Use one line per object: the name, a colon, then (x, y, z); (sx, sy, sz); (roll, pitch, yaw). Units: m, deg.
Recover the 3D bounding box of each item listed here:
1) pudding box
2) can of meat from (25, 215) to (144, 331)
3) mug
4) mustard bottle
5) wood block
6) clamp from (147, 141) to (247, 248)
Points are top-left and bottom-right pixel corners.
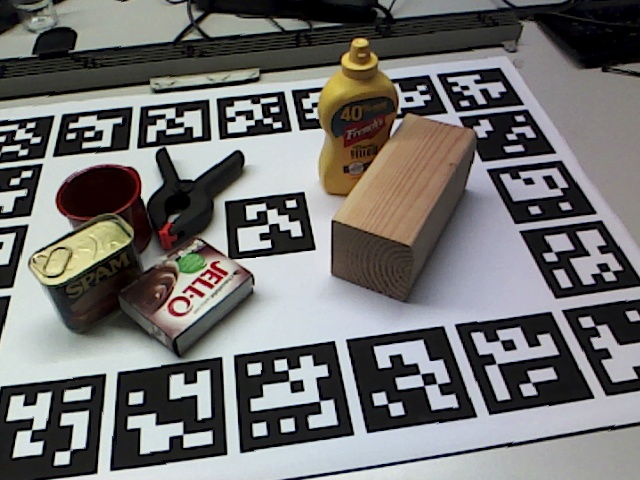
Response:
pudding box: (-0.137, 0.057, 0.656); (0.090, 0.038, 0.113); (32, 54, 27)
can of meat: (-0.237, 0.036, 0.642); (0.101, 0.083, 0.058); (-32, 55, -25)
mug: (-0.243, -0.024, 0.737); (0.093, 0.081, 0.117); (9, 50, 10)
mustard bottle: (0.041, -0.147, 0.733); (0.096, 0.191, 0.059); (-12, 49, -8)
wood block: (0.099, -0.040, 0.707); (0.090, 0.090, 0.206); (19, 49, 21)
clamp: (-0.168, -0.061, 0.774); (0.122, 0.036, 0.165); (7, 50, 7)
